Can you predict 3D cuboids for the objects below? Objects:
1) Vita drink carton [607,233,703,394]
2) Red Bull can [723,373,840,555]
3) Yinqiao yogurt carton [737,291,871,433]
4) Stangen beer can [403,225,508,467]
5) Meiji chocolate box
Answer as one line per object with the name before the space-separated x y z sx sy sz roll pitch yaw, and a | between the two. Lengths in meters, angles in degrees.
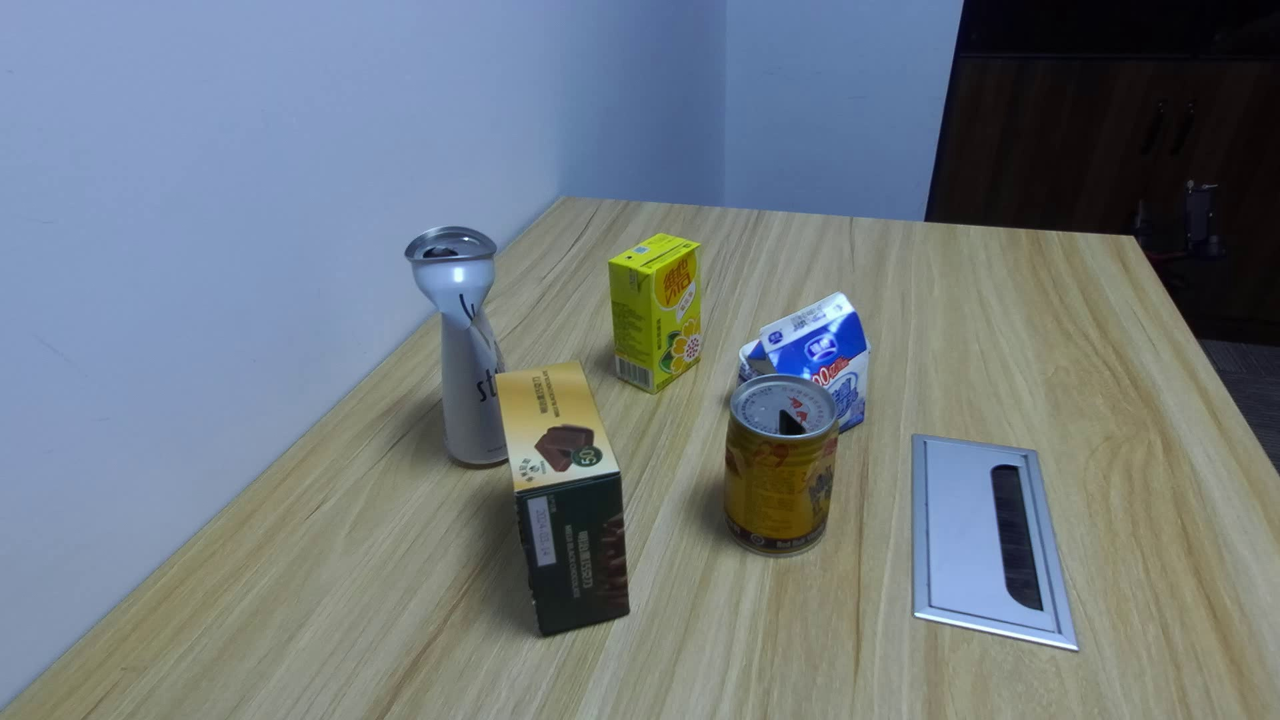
Vita drink carton | 0.014 -0.037 0.563 0.043 0.109 0.067 23 41 34
Red Bull can | 0.083 0.063 0.422 0.069 0.092 0.069 -3 34 2
Yinqiao yogurt carton | 0.119 0.001 0.509 0.083 0.093 0.077 -21 37 -26
Stangen beer can | -0.115 -0.006 0.485 0.077 0.162 0.066 21 41 31
Meiji chocolate box | -0.046 0.076 0.404 0.056 0.109 0.109 -10 34 -12
